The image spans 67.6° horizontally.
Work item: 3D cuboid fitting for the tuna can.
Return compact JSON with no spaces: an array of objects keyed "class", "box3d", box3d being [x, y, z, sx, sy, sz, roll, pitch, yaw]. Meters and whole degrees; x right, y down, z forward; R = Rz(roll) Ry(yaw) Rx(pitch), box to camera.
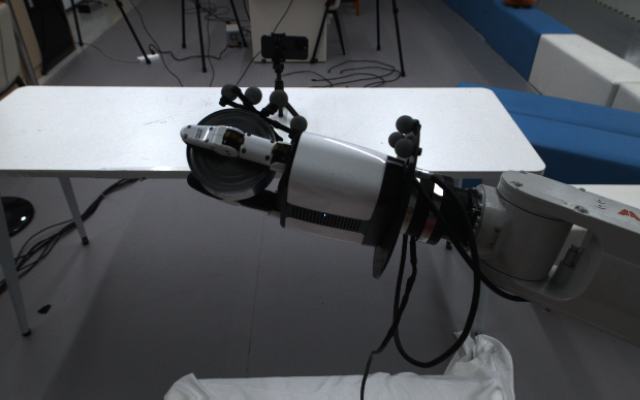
[{"class":"tuna can","box3d":[-0.083,-0.045,0.475,0.085,0.034,0.085,0,72,0]}]
